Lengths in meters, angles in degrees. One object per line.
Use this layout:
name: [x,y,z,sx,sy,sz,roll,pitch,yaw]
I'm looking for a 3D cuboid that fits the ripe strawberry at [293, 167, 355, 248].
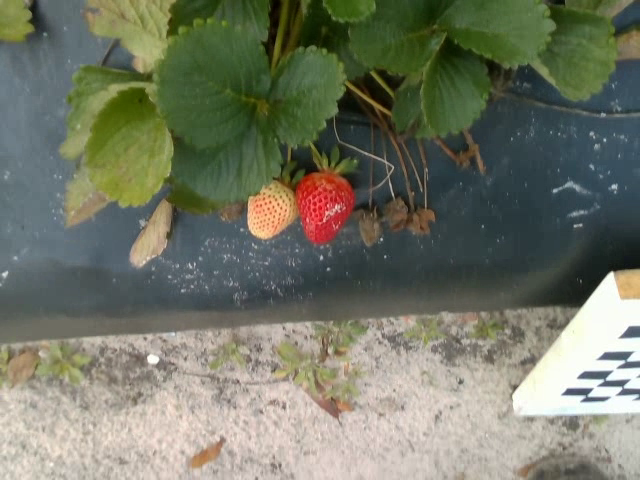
ripe strawberry: [0.001,-0.015,0.310,0.034,0.042,0.033,15,-4,-23]
